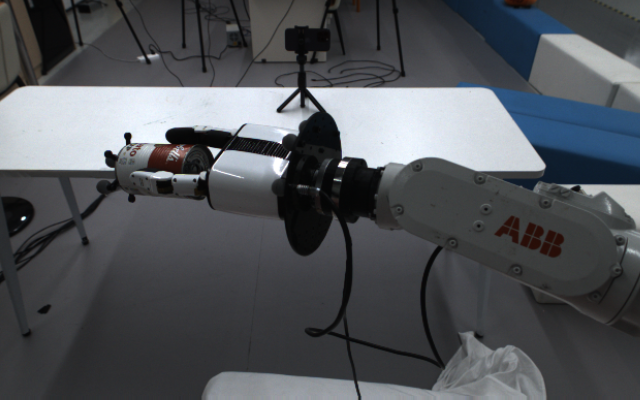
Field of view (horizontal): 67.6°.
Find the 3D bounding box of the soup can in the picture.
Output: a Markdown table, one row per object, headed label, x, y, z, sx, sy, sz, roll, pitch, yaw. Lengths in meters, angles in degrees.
| label | x | y | z | sx | sy | sz | roll | pitch | yaw |
| --- | --- | --- | --- | --- | --- | --- | --- | --- | --- |
| soup can | -0.189 | -0.035 | 0.599 | 0.101 | 0.067 | 0.067 | 4 | 34 | 20 |
